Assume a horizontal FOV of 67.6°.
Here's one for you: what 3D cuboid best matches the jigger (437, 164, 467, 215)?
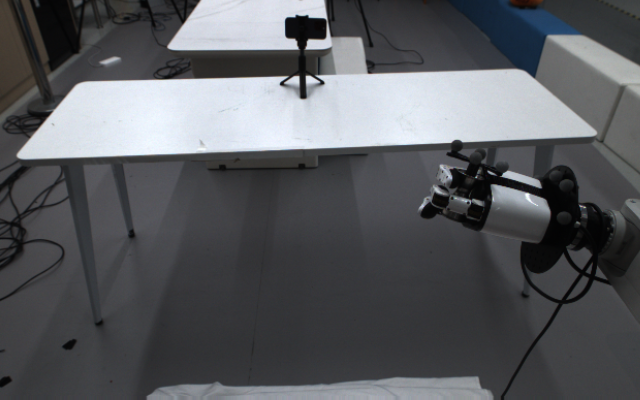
[{"bbox_3d":[0.204,-0.007,0.698,0.043,0.071,0.043,18,17,-6],"label":"jigger"}]
